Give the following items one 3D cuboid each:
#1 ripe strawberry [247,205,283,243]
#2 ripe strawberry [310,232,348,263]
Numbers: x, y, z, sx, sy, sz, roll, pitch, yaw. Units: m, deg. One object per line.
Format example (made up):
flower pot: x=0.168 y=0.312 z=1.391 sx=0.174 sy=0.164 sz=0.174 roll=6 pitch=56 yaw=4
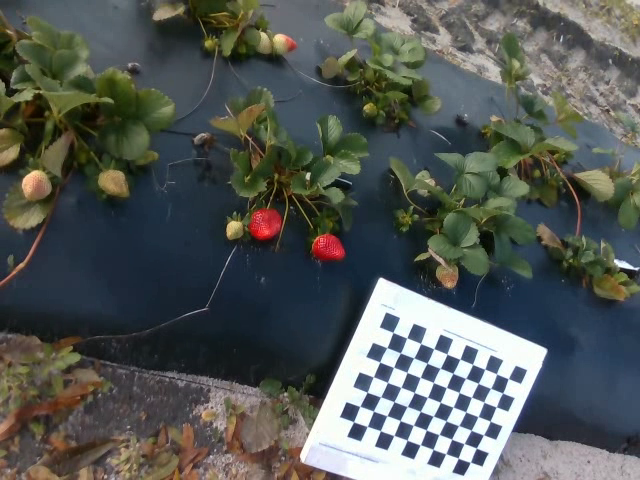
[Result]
ripe strawberry: x=-0.048 y=-0.015 z=0.641 sx=0.035 sy=0.041 sz=0.036 roll=8 pitch=30 yaw=-14
ripe strawberry: x=0.013 y=0.008 z=0.667 sx=0.033 sy=0.038 sz=0.039 roll=33 pitch=8 yaw=-38
